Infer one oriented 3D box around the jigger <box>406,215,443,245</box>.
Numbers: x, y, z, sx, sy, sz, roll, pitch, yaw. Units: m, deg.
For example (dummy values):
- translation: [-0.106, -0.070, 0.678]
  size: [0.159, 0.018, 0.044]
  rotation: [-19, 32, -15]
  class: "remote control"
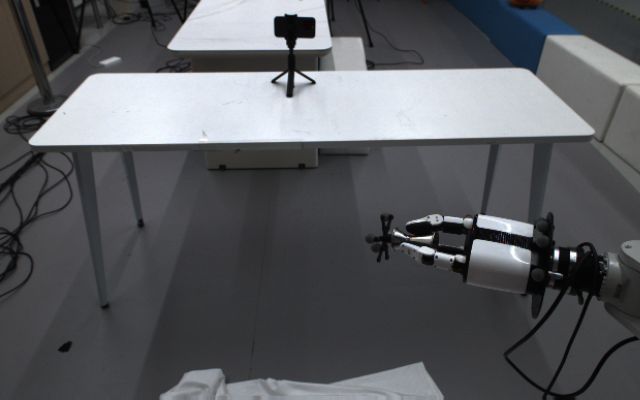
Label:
- translation: [0.161, 0.061, 0.787]
  size: [0.071, 0.043, 0.043]
  rotation: [4, 32, 27]
  class: "jigger"
